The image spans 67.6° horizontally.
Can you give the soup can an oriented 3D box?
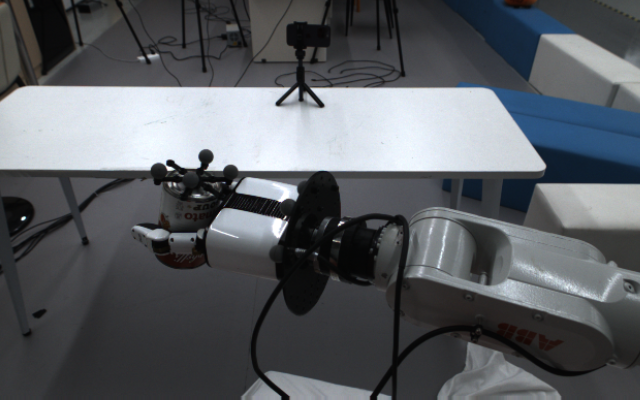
[{"bbox_3d":[-0.155,0.023,0.571,0.067,0.101,0.067,13,30,-8],"label":"soup can"}]
